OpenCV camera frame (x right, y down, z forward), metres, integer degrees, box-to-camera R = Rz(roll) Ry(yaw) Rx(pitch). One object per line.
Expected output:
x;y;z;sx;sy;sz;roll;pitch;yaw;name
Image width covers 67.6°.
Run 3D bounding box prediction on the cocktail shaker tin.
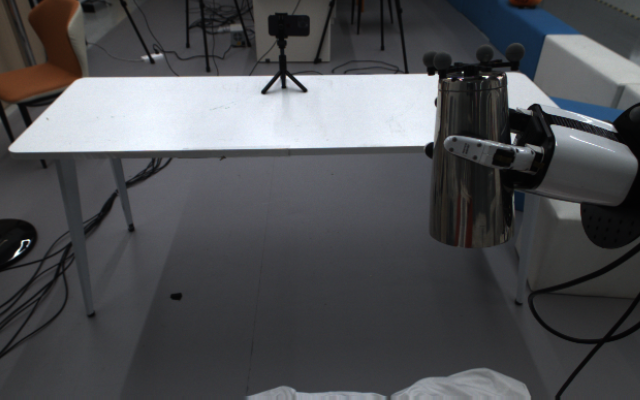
0.162;-0.046;0.514;0.093;0.170;0.093;-6;19;2;cocktail shaker tin
